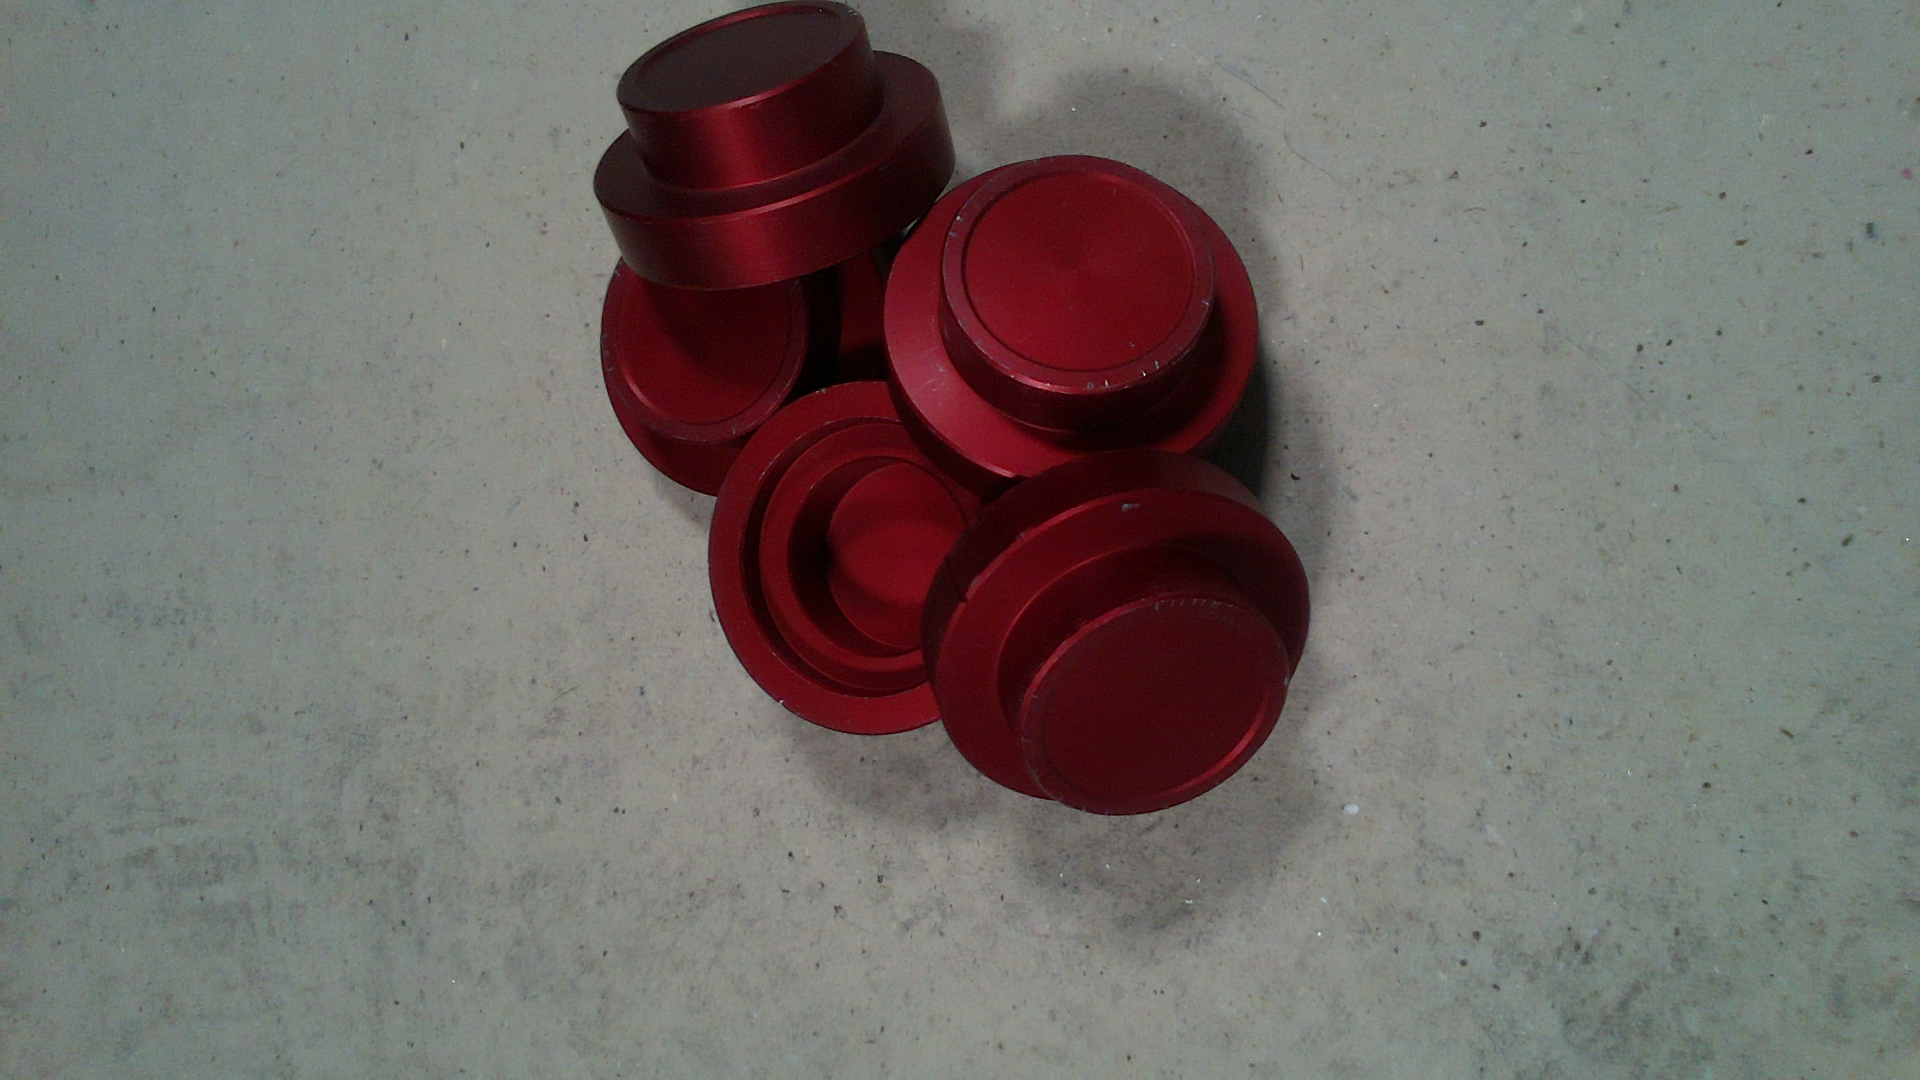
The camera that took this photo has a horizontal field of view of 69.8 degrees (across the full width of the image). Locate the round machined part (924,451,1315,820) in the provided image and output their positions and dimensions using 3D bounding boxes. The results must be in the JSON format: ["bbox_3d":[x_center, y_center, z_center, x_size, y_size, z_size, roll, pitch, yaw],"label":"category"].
[{"bbox_3d":[0.043,0.030,0.342,0.098,0.098,0.042,-45,35,14],"label":"round machined part"}]

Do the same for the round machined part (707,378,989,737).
[{"bbox_3d":[-0.019,0.005,0.394,0.098,0.042,0.098,0,90,20],"label":"round machined part"}]

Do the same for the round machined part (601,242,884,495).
[{"bbox_3d":[-0.067,-0.061,0.412,0.098,0.042,0.098,0,90,20],"label":"round machined part"}]

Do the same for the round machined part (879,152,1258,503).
[{"bbox_3d":[0.028,-0.059,0.353,0.098,0.042,0.098,1,68,-2],"label":"round machined part"}]

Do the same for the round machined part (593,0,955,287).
[{"bbox_3d":[-0.053,-0.113,0.375,0.098,0.098,0.042,1,132,20],"label":"round machined part"}]
